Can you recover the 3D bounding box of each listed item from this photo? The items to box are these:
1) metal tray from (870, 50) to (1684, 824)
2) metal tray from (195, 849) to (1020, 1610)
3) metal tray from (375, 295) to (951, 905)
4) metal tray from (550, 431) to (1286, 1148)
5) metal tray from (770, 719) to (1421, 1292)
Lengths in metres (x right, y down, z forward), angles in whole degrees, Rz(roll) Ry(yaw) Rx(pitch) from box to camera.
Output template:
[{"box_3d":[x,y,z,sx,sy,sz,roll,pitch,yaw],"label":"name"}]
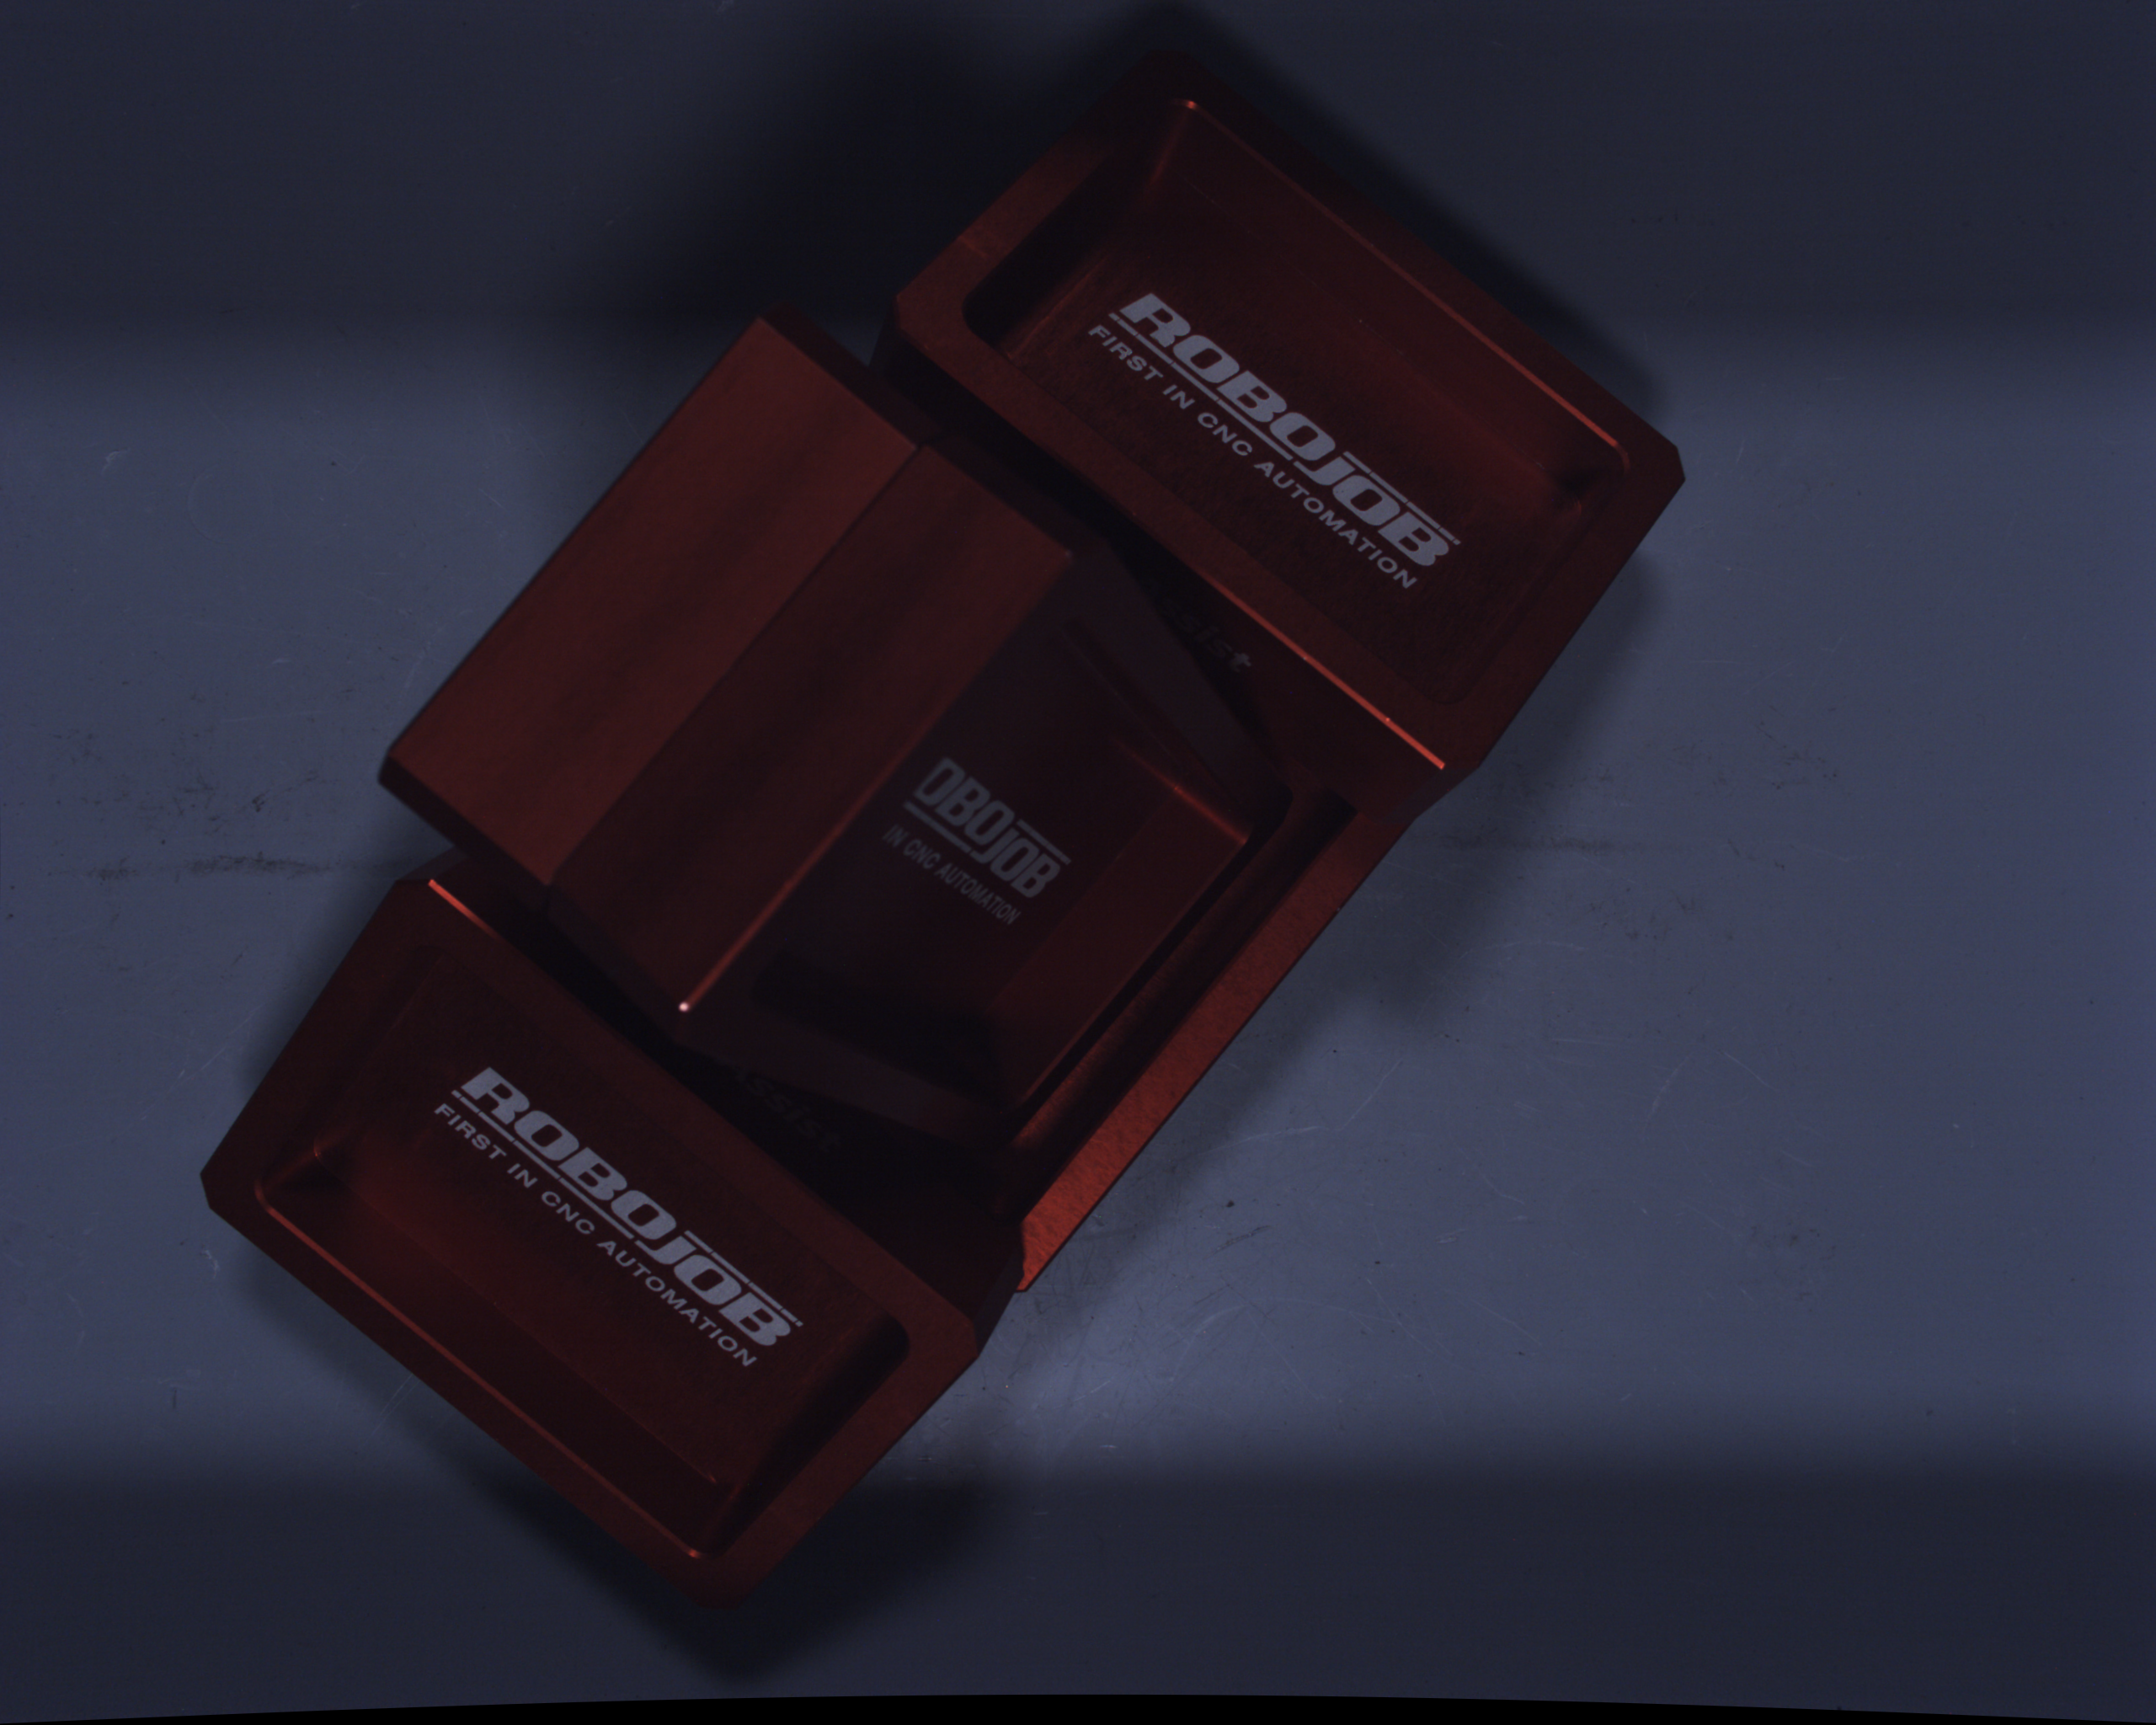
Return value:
[{"box_3d":[0.038,-0.081,0.390,0.130,0.030,0.090,39,64,0],"label":"metal tray"},{"box_3d":[-0.088,0.067,0.389,0.130,0.030,0.090,40,114,-1],"label":"metal tray"},{"box_3d":[-0.059,-0.037,0.355,0.030,0.130,0.090,40,90,0],"label":"metal tray"},{"box_3d":[-0.018,-0.004,0.345,0.030,0.130,0.090,40,90,23],"label":"metal tray"},{"box_3d":[-0.006,0.006,0.407,0.090,0.030,0.130,39,90,-1],"label":"metal tray"}]
